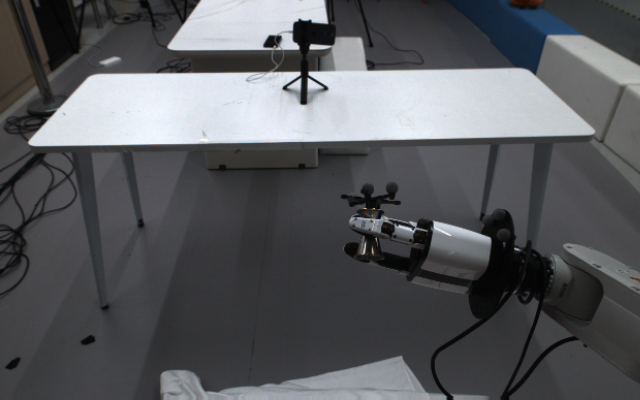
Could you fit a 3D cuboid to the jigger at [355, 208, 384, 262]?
[{"bbox_3d":[0.070,0.048,0.695,0.043,0.043,0.071,3,75,1],"label":"jigger"}]
